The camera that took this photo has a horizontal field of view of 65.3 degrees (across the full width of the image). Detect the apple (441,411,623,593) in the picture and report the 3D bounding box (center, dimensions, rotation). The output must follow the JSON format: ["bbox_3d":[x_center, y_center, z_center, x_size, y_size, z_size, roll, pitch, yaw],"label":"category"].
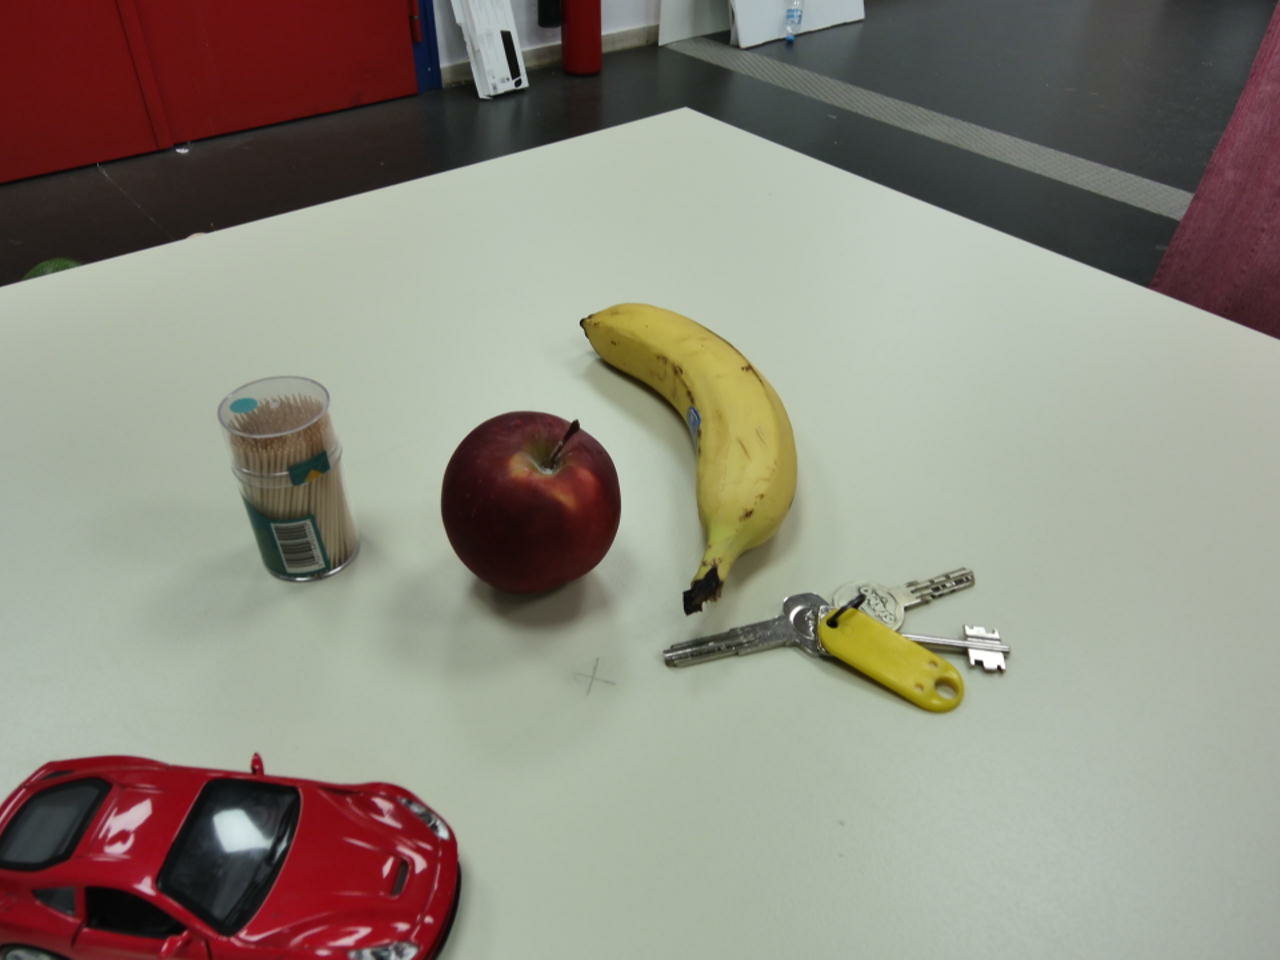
[{"bbox_3d":[-0.042,0.009,0.386,0.070,0.072,0.070,0,37,0],"label":"apple"}]
